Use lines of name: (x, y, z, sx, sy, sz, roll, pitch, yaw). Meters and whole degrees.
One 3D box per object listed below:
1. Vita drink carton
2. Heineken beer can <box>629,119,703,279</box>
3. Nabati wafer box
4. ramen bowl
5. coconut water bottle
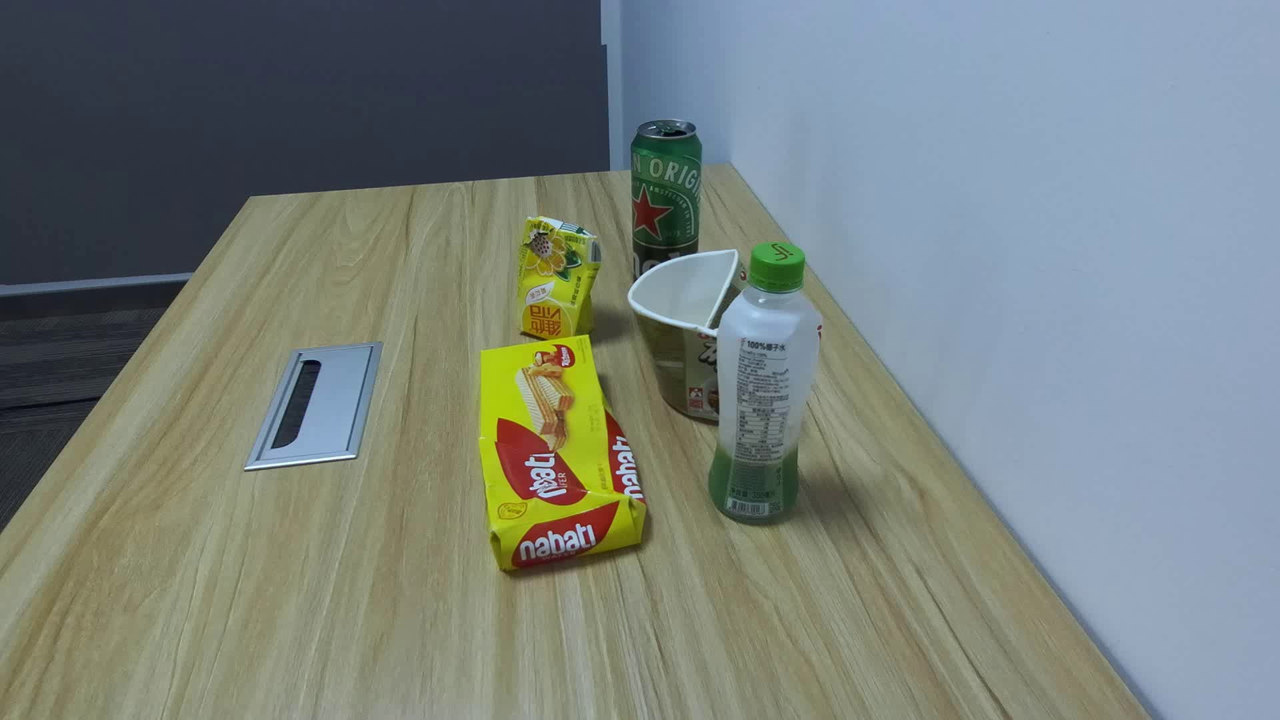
Vita drink carton: (-0.074, -0.075, 0.655, 0.086, 0.108, 0.042, 18, 24, 21)
Heineken beer can: (0.027, -0.138, 0.686, 0.067, 0.169, 0.067, 0, 31, 0)
Nabati wafer box: (-0.062, 0.059, 0.523, 0.107, 0.042, 0.203, -10, 38, -7)
ramen bowl: (0.062, -0.019, 0.577, 0.137, 0.098, 0.137, 0, 35, 0)
coconut water bottle: (0.081, 0.017, 0.444, 0.069, 0.186, 0.069, 1, 36, -1)
